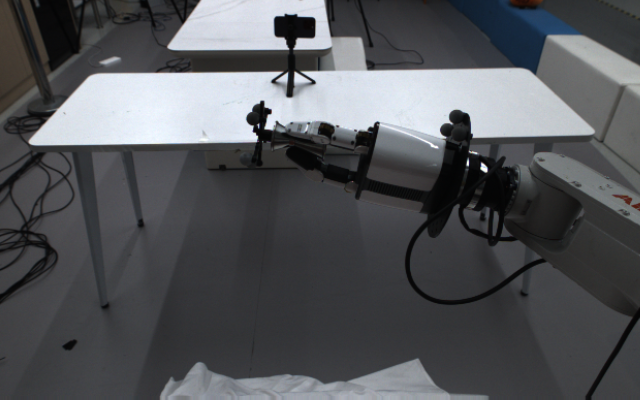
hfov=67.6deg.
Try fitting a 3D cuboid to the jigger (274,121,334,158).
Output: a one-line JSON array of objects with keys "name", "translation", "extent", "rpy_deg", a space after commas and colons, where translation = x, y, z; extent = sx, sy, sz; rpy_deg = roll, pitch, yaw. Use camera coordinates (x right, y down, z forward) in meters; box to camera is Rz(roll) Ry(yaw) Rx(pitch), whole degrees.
[{"name": "jigger", "translation": [-0.019, -0.078, 0.617], "extent": [0.071, 0.043, 0.043], "rpy_deg": [8, 35, 1]}]
